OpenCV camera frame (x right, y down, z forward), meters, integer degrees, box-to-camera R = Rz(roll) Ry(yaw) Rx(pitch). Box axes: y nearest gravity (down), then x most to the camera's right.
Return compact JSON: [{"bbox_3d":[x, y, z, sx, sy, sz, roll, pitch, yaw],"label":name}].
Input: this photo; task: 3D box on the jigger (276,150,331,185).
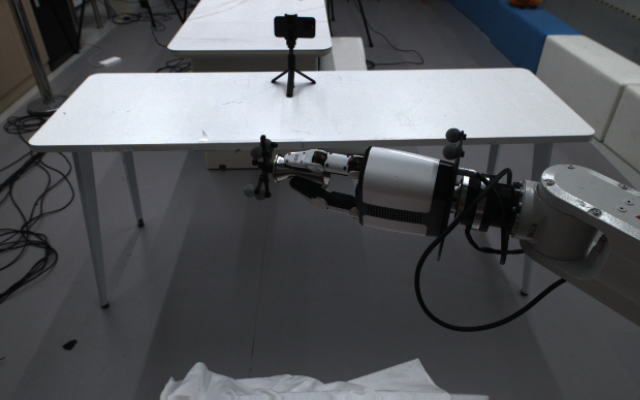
[{"bbox_3d":[-0.017,-0.043,0.633,0.071,0.043,0.043,4,34,13],"label":"jigger"}]
